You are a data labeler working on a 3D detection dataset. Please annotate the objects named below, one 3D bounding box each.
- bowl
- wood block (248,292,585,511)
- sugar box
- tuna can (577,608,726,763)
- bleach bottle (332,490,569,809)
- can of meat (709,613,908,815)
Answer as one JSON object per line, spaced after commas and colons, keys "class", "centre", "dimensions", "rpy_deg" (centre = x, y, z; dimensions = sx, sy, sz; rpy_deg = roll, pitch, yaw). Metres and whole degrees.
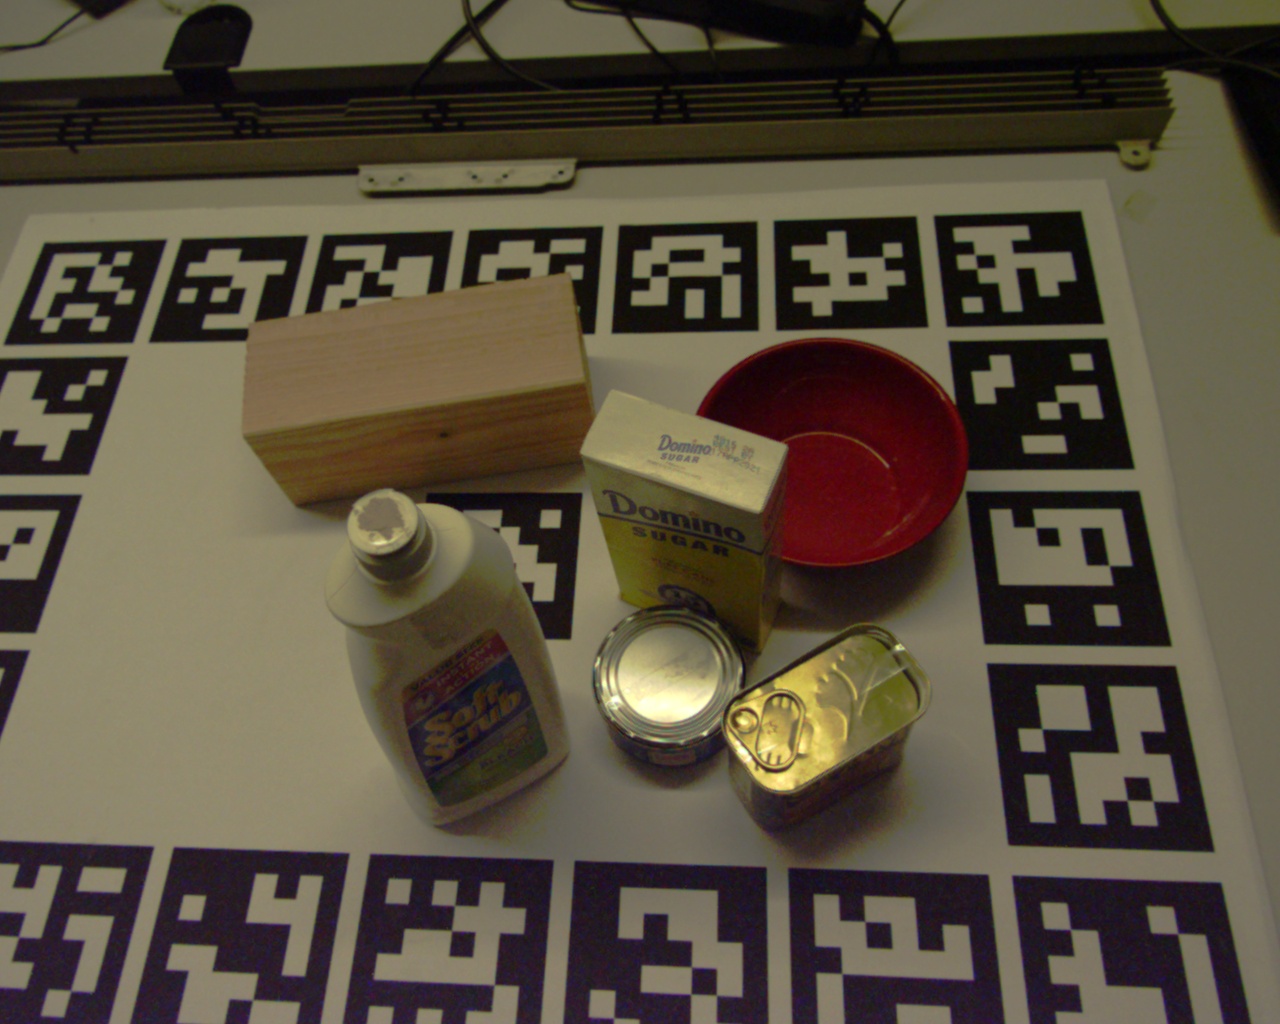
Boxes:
{"class": "bowl", "centre": [0.114, -0.028, 0.716], "dimensions": [0.162, 0.055, 0.162], "rpy_deg": [-5, 59, 8]}
{"class": "wood block", "centre": [-0.143, -0.072, 0.756], "dimensions": [0.206, 0.089, 0.091], "rpy_deg": [-8, 63, 1]}
{"class": "sugar box", "centre": [0.027, 0.012, 0.630], "dimensions": [0.094, 0.175, 0.045], "rpy_deg": [17, 65, 19]}
{"class": "tuna can", "centre": [0.008, 0.101, 0.662], "dimensions": [0.086, 0.033, 0.086], "rpy_deg": [-3, 62, 6]}
{"class": "bleach bottle", "centre": [-0.101, 0.070, 0.572], "dimensions": [0.102, 0.249, 0.068], "rpy_deg": [-23, 59, -7]}
{"class": "can of meat", "centre": [0.090, 0.113, 0.624], "dimensions": [0.101, 0.083, 0.058], "rpy_deg": [-26, 57, -11]}
